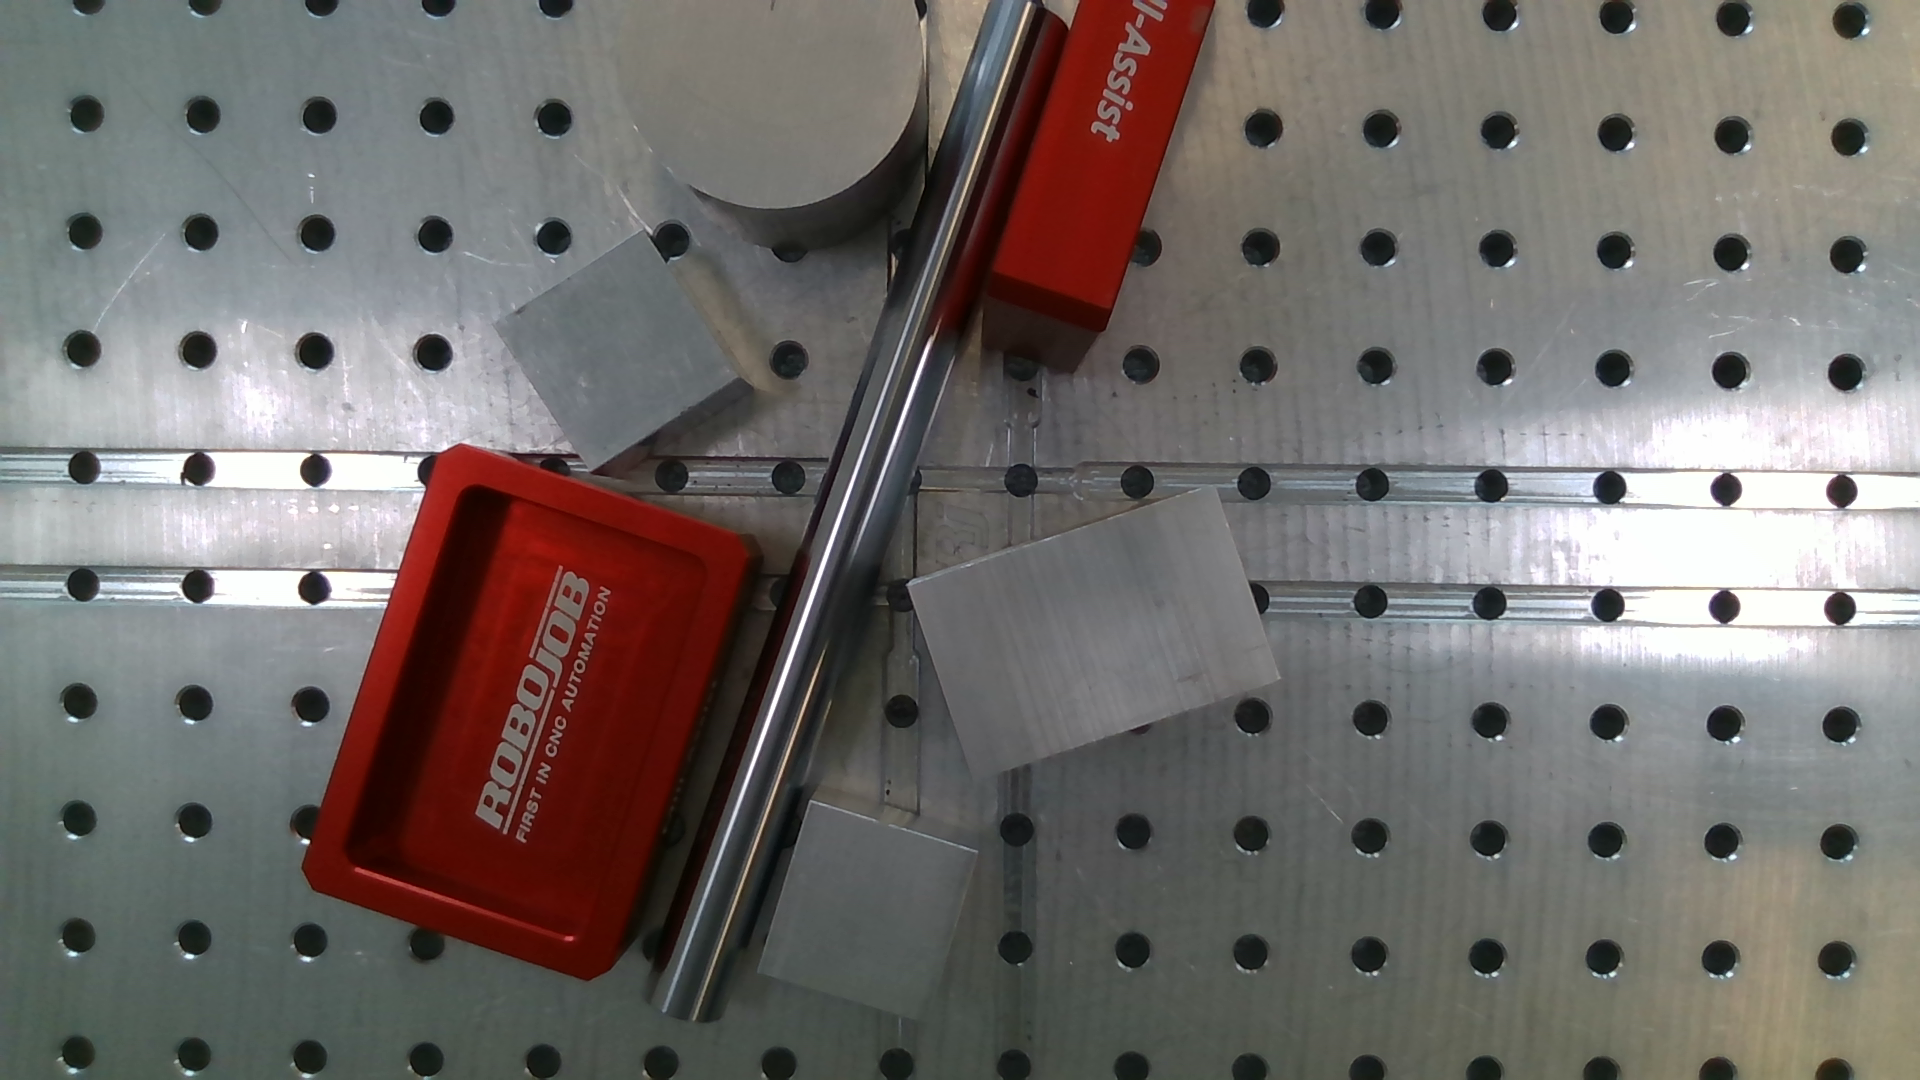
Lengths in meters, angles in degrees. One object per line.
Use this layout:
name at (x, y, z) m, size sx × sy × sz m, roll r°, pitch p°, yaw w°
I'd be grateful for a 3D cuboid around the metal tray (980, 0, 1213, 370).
metal tray at (0.040, -0.116, 0.364) m, size 0.030 × 0.090 × 0.130 m, roll 19°, pitch 90°, yaw 0°

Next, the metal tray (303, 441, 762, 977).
metal tray at (-0.120, 0.047, 0.395) m, size 0.090 × 0.030 × 0.130 m, roll 18°, pitch 90°, yaw 0°

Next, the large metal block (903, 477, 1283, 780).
large metal block at (0.032, 0.021, 0.372) m, size 0.080 × 0.080 × 0.050 m, roll -19°, pitch 90°, yaw 0°

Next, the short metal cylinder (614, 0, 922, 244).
short metal cylinder at (-0.050, -0.127, 0.384) m, size 0.080 × 0.050 × 0.080 m, roll 0°, pitch 90°, yaw 0°

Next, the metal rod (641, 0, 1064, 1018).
metal rod at (-0.030, -0.009, 0.398) m, size 0.025 × 0.025 × 0.300 m, roll 19°, pitch 90°, yaw 0°

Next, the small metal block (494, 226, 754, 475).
small metal block at (-0.096, -0.054, 0.398) m, size 0.050 × 0.025 × 0.050 m, roll -33°, pitch 90°, yaw 0°

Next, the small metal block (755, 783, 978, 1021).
small metal block at (-0.026, 0.104, 0.398) m, size 0.050 × 0.025 × 0.050 m, roll 17°, pitch 90°, yaw 0°
